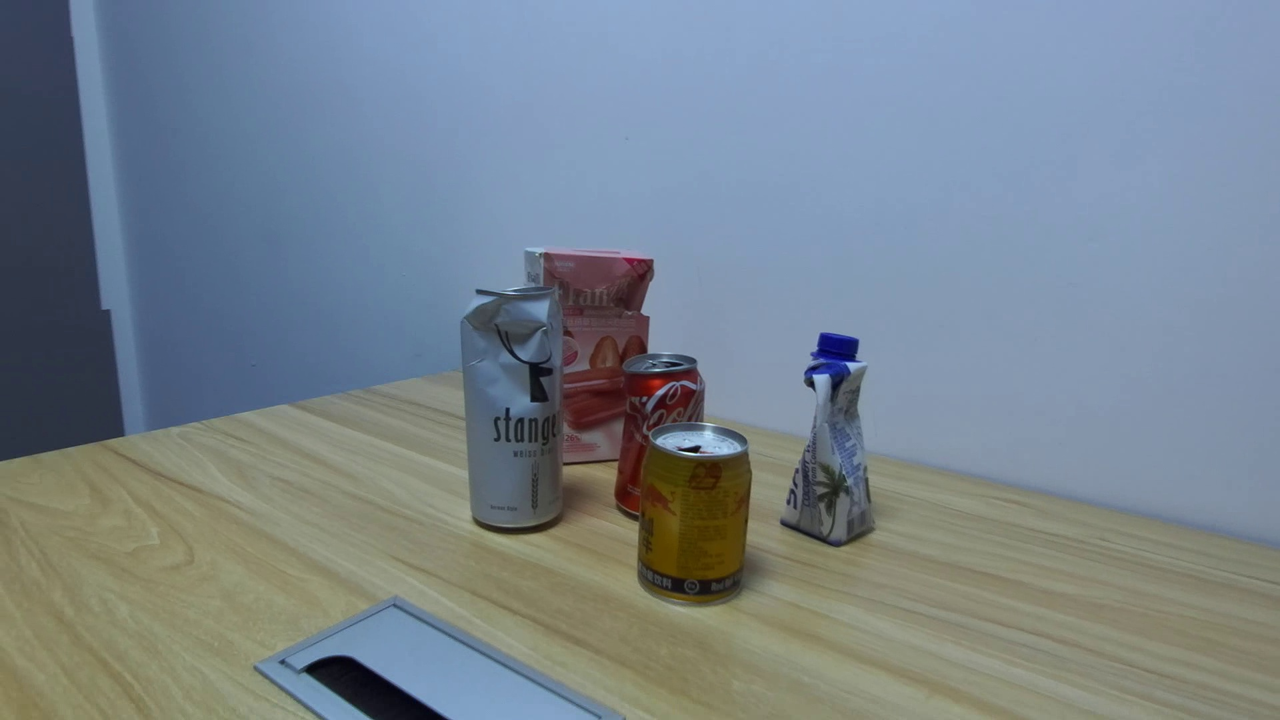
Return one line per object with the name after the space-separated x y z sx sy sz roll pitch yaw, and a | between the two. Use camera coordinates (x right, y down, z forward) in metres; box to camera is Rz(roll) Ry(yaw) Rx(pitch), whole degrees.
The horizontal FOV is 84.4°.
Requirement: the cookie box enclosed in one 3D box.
-0.046 -0.002 0.624 0.105 0.186 0.059 -1 14 -17 | cookie box

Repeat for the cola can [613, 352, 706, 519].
0.017 0.057 0.525 0.065 0.117 0.072 2 12 -6 | cola can

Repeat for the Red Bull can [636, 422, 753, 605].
0.033 0.090 0.427 0.067 0.093 0.067 3 14 -1 | Red Bull can

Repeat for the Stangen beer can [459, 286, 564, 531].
-0.087 0.034 0.498 0.066 0.166 0.066 2 11 6 | Stangen beer can

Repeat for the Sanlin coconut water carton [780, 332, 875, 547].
0.129 0.055 0.506 0.069 0.144 0.056 -18 16 -42 | Sanlin coconut water carton
